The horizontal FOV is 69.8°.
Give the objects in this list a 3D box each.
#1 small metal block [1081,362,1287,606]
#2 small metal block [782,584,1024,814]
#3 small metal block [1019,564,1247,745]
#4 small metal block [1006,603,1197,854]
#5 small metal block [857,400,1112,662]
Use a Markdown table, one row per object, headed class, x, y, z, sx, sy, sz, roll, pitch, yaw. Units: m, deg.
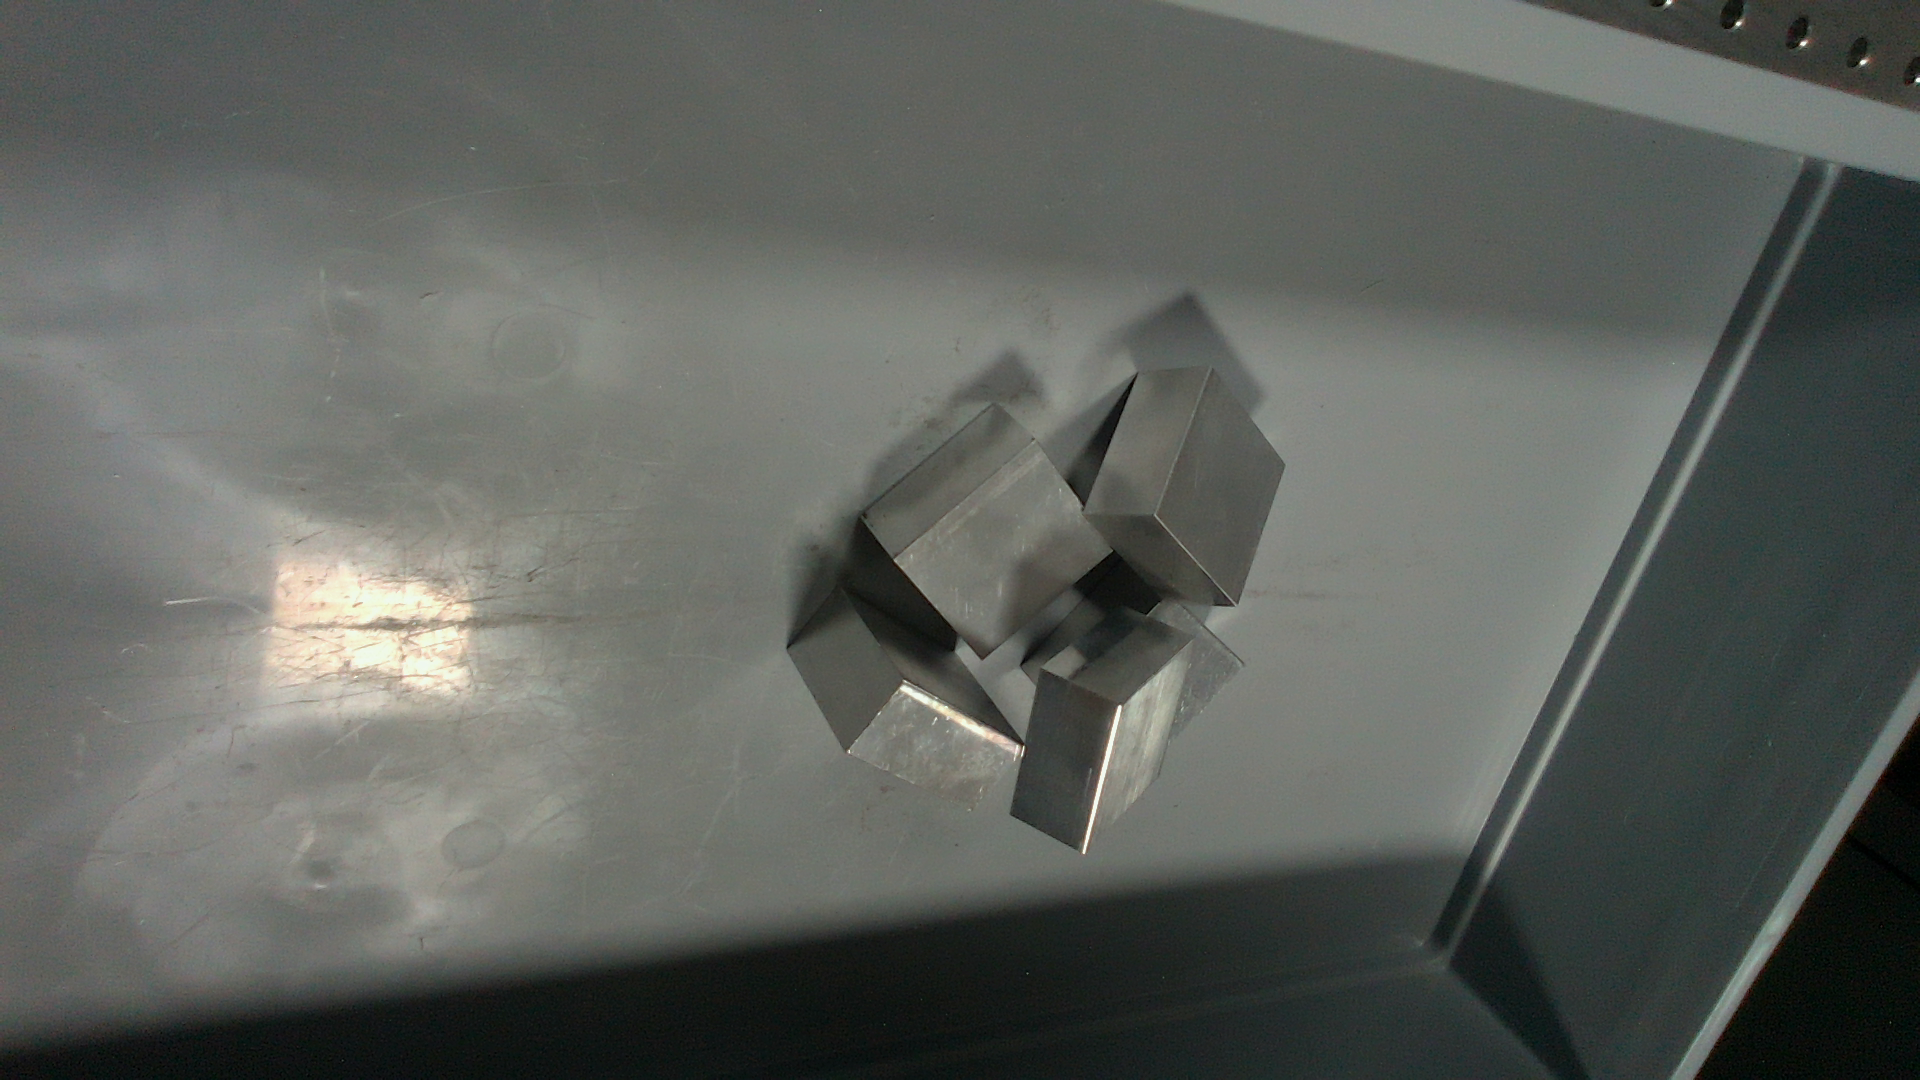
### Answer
| class | x | y | z | sx | sy | sz | roll | pitch | yaw |
| --- | --- | --- | --- | --- | --- | --- | --- | --- | --- |
| small metal block | 0.066 | -0.016 | 0.400 | 0.050 | 0.025 | 0.050 | 43 | 61 | -39 |
| small metal block | -0.016 | 0.045 | 0.389 | 0.050 | 0.050 | 0.025 | 33 | 100 | -38 |
| small metal block | 0.056 | 0.040 | 0.442 | 0.050 | 0.025 | 0.050 | -46 | 129 | 4 |
| small metal block | 0.041 | 0.053 | 0.395 | 0.050 | 0.025 | 0.050 | -30 | 137 | -52 |
| small metal block | 0.008 | -0.002 | 0.389 | 0.050 | 0.025 | 0.050 | -40 | 129 | -1 |
